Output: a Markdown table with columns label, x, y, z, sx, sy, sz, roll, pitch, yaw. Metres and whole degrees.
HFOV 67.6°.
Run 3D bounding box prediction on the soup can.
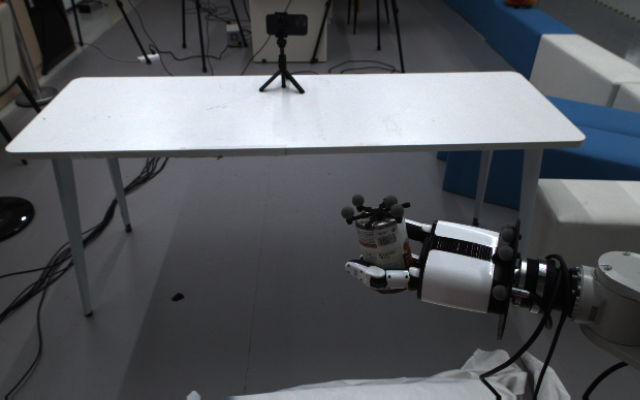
| label | x | y | z | sx | sy | sz | roll | pitch | yaw |
| --- | --- | --- | --- | --- | --- | --- | --- | --- | --- |
| soup can | 0.092 | 0.067 | 0.662 | 0.067 | 0.101 | 0.067 | -13 | 20 | 5 |
